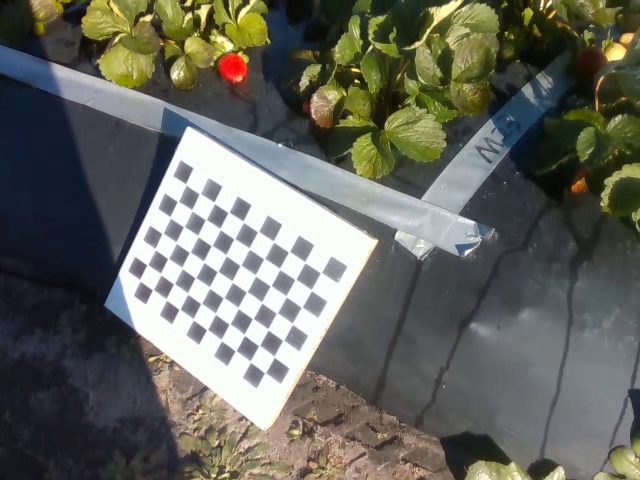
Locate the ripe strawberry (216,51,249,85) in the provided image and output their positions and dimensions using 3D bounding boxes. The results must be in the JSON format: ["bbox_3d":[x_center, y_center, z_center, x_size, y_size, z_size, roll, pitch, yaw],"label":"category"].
[{"bbox_3d":[-0.122,-0.239,0.847,0.045,0.059,0.042,-34,-30,19],"label":"ripe strawberry"}]
